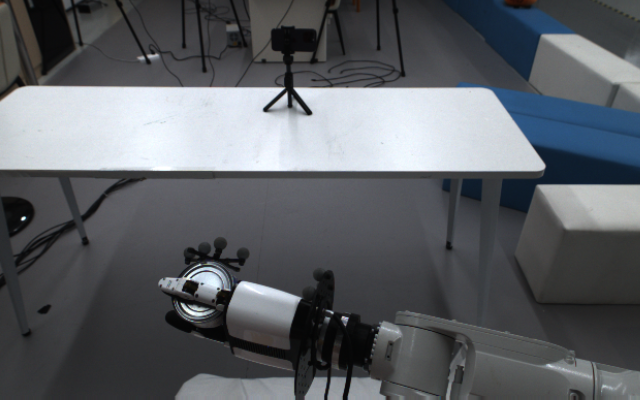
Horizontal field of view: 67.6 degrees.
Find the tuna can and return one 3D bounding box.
[{"bbox_3d":[-0.149,0.125,0.641,0.085,0.034,0.085,-6,58,10],"label":"tuna can"}]
